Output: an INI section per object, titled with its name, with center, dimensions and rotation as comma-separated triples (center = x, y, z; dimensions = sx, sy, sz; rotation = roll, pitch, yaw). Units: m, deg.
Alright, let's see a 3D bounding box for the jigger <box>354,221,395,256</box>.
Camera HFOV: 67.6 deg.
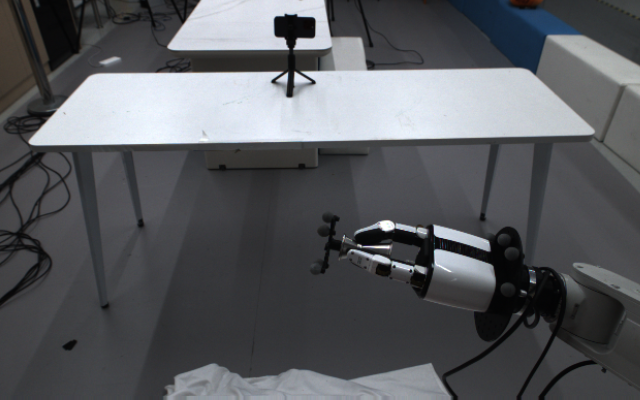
[jigger]
center = 0.069, 0.069, 0.671
dimensions = 0.071, 0.043, 0.043
rotation = 12, 36, 5
